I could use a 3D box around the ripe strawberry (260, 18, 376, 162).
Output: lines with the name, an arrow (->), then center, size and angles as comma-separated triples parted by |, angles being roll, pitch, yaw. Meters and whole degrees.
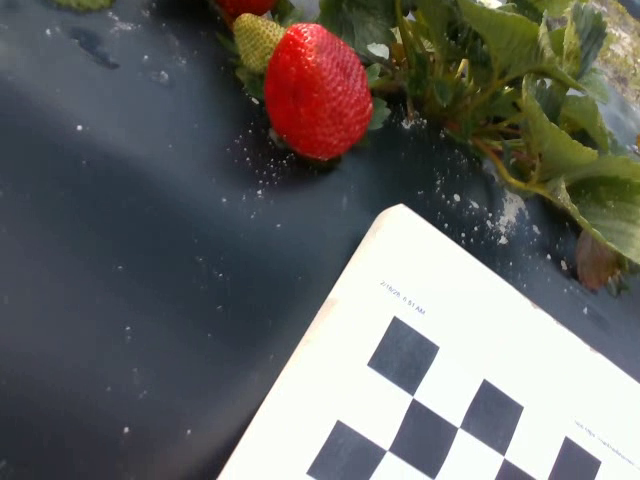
ripe strawberry -> 0.000, -0.028, 0.108 | 0.022, 0.025, 0.030 | 13, -7, 9
